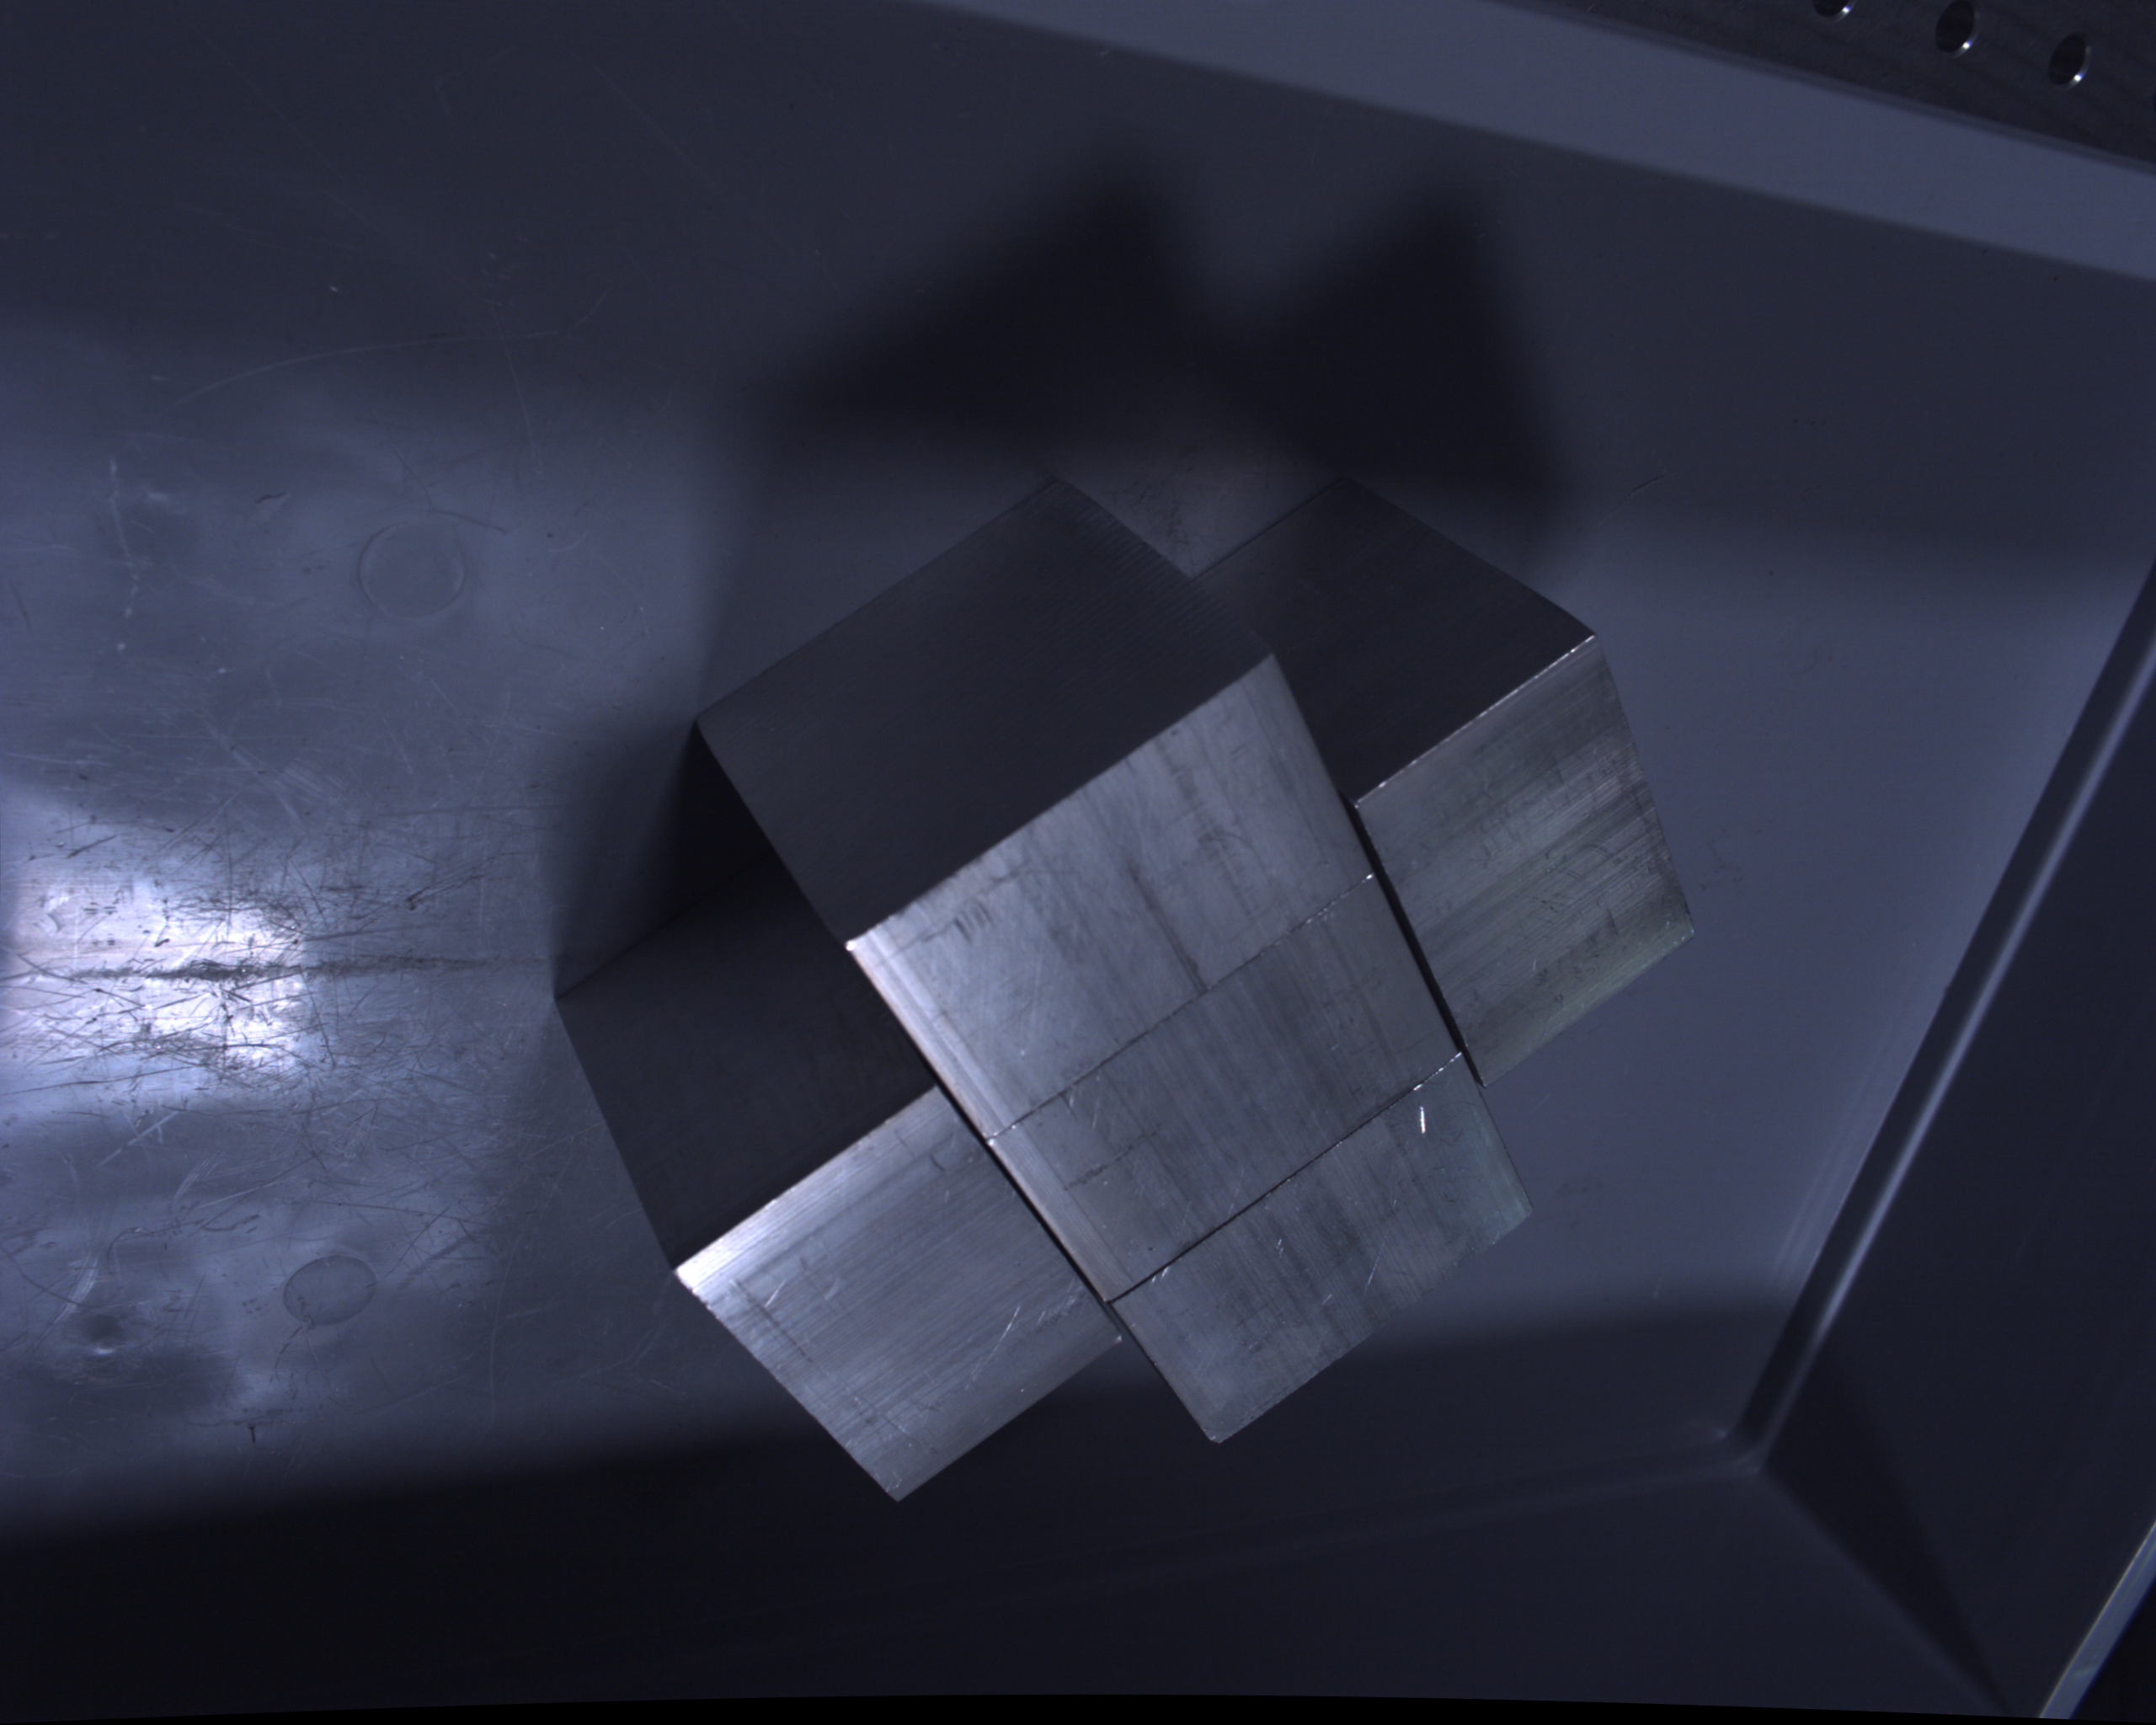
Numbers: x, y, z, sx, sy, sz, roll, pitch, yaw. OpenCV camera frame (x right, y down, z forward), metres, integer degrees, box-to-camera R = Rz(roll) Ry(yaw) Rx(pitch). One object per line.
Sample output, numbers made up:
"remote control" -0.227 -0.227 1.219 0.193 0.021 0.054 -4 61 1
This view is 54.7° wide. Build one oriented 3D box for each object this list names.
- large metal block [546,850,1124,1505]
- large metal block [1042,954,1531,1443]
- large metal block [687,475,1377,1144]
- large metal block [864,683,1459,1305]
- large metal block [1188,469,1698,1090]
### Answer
"large metal block" -0.045 0.056 0.383 0.050 0.080 0.080 -35 129 -5
"large metal block" 0.030 0.055 0.425 0.080 0.080 0.050 -35 129 -6
"large metal block" -0.010 -0.012 0.360 0.080 0.080 0.050 -35 129 -6
"large metal block" 0.010 0.021 0.392 0.080 0.080 0.050 -35 129 -6
"large metal block" 0.064 -0.017 0.398 0.050 0.080 0.080 -35 129 -5
